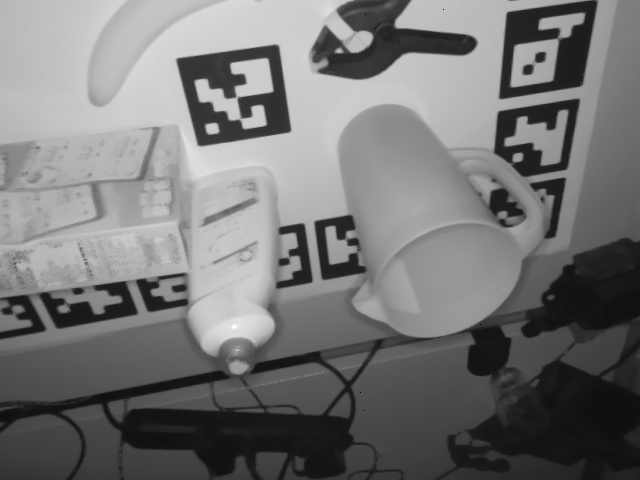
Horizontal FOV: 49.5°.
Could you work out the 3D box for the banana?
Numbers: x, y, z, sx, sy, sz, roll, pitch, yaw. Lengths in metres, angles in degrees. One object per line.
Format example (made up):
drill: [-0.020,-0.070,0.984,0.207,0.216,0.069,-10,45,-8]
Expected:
banana: [-0.128,-0.201,0.659,0.195,0.039,0.074,-34,128,15]

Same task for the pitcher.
pitcher: [0.128,-0.029,0.683,0.188,0.244,0.133,-20,130,9]

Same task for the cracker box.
cracker box: [-0.219,-0.040,0.657,0.215,0.165,0.071,-7,133,-9]

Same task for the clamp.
clamp: [0.092,-0.207,0.693,0.165,0.037,0.121,-20,131,6]

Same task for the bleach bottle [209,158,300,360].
bleach bottle: [-0.059,0.014,0.701,0.103,0.252,0.067,-7,131,-6]
